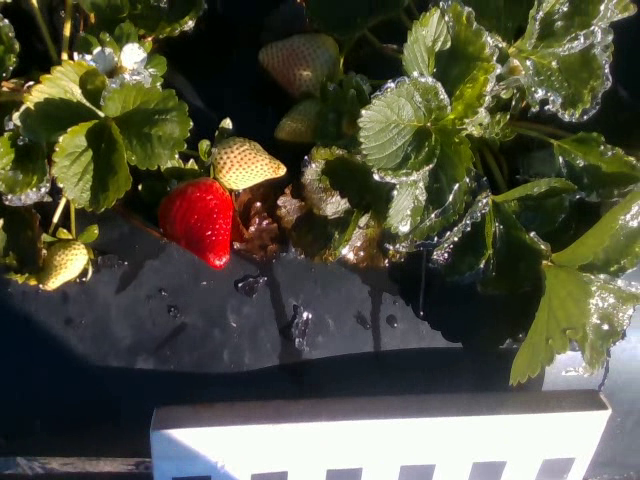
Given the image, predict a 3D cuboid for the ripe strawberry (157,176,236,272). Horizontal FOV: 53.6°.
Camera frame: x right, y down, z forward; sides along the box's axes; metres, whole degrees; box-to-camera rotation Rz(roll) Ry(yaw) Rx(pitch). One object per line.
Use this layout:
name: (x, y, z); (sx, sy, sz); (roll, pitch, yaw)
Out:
ripe strawberry: (-0.056, -0.005, 0.297); (0.040, 0.053, 0.042); (-34, -32, 8)
